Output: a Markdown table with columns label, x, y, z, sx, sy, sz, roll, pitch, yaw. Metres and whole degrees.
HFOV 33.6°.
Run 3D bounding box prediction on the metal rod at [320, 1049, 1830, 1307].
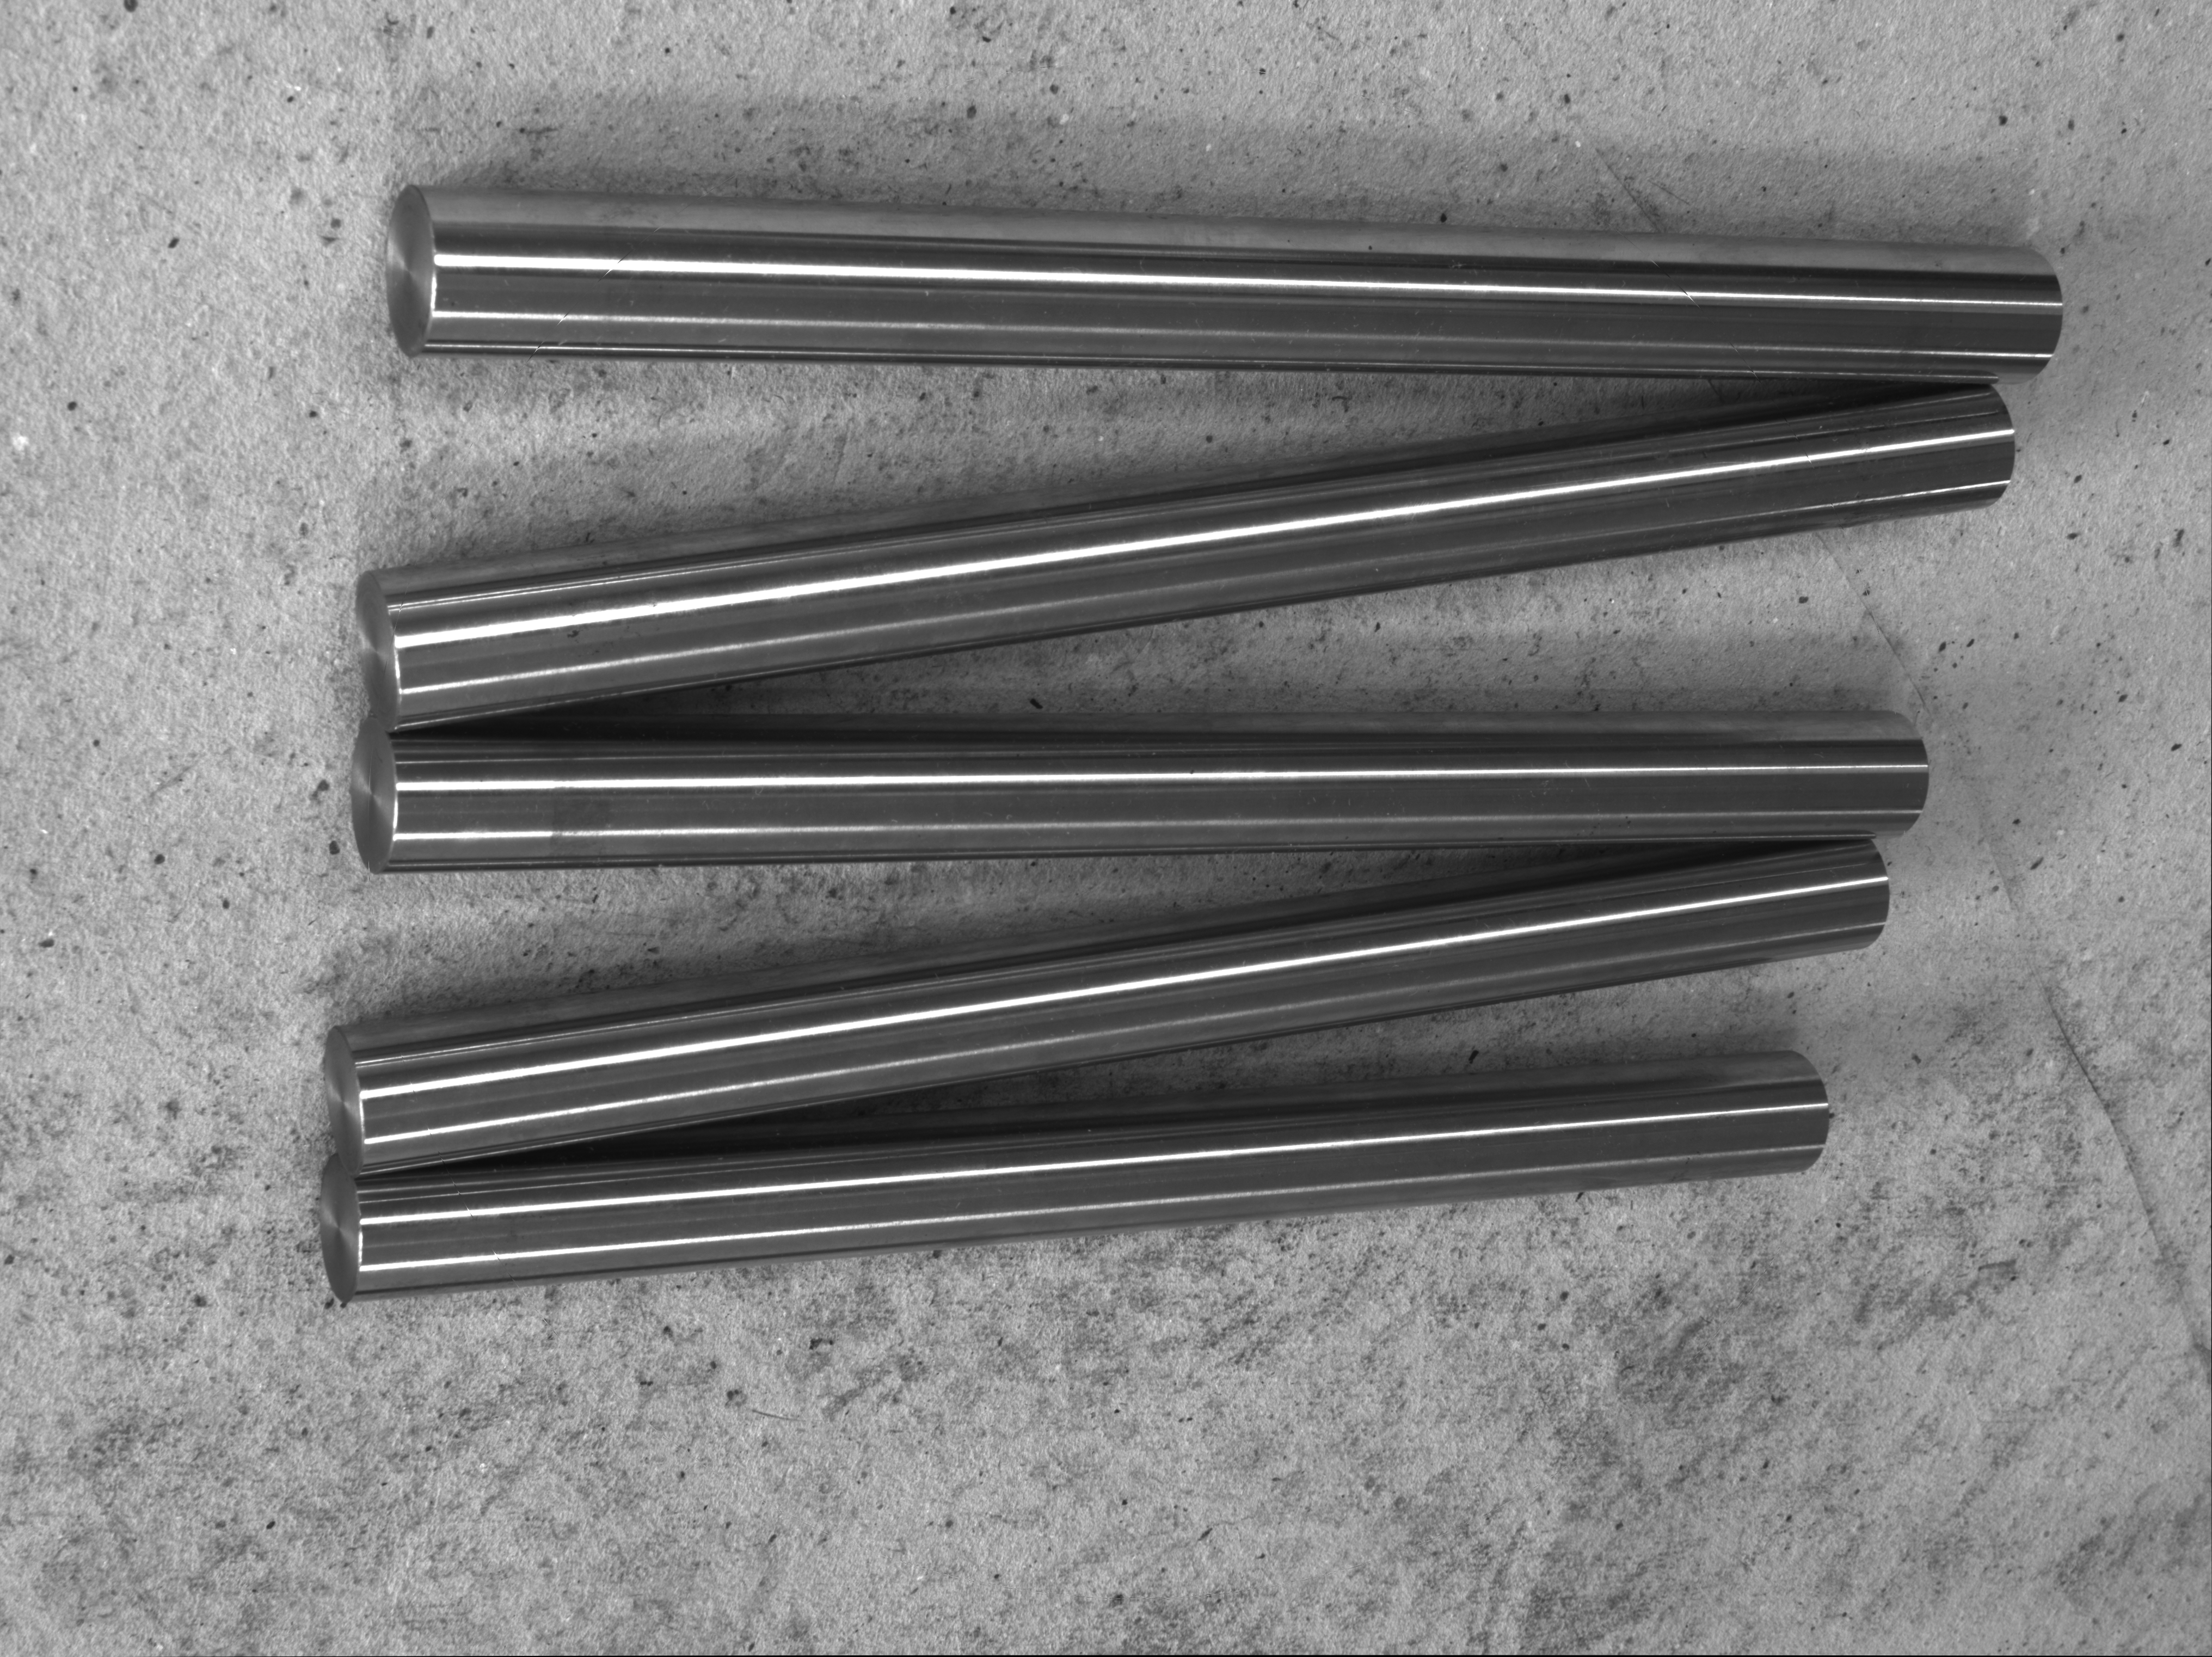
| label | x | y | z | sx | sy | sz | roll | pitch | yaw |
| --- | --- | --- | --- | --- | --- | --- | --- | --- | --- |
| metal rod | 0.006 | 0.062 | 0.679 | 0.301 | 0.025 | 0.025 | -2 | 119 | -27 |

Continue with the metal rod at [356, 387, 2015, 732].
| label | x | y | z | sx | sy | sz | roll | pitch | yaw |
| --- | --- | --- | --- | --- | --- | --- | --- | --- | --- |
| metal rod | 0.025 | -0.049 | 0.621 | 0.301 | 0.025 | 0.025 | -9 | 122 | -23 |

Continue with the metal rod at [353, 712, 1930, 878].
| label | x | y | z | sx | sy | sz | roll | pitch | yaw |
| --- | --- | --- | --- | --- | --- | --- | --- | --- | --- |
| metal rod | 0.019 | -0.008 | 0.643 | 0.301 | 0.025 | 0.025 | -1 | 119 | -28 |

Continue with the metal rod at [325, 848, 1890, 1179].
| label | x | y | z | sx | sy | sz | roll | pitch | yaw |
| --- | --- | --- | --- | --- | --- | --- | --- | --- | --- |
| metal rod | 0.011 | 0.028 | 0.661 | 0.301 | 0.025 | 0.025 | -7 | 121 | -25 |

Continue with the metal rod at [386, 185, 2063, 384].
| label | x | y | z | sx | sy | sz | roll | pitch | yaw |
| --- | --- | --- | --- | --- | --- | --- | --- | --- | --- |
| metal rod | 0.033 | -0.087 | 0.602 | 0.301 | 0.025 | 0.025 | -3 | 119 | -27 |
